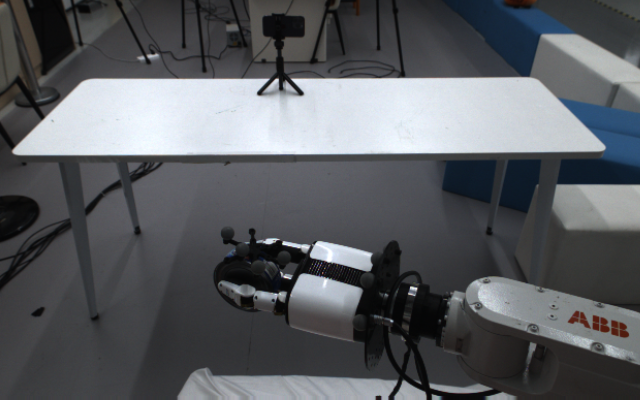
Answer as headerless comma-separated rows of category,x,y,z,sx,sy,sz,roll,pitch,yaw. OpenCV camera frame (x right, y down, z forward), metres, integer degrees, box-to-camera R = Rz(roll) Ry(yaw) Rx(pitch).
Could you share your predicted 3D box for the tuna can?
tuna can,-0.093,0.105,0.641,0.085,0.085,0.034,12,30,15
